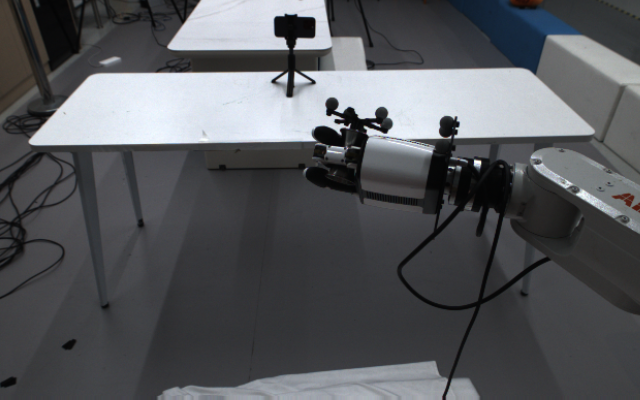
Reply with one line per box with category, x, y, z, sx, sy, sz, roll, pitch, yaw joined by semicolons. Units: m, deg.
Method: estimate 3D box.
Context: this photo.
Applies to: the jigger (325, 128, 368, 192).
jigger;0.040;-0.058;0.652;0.043;0.071;0.043;16;-7;2
